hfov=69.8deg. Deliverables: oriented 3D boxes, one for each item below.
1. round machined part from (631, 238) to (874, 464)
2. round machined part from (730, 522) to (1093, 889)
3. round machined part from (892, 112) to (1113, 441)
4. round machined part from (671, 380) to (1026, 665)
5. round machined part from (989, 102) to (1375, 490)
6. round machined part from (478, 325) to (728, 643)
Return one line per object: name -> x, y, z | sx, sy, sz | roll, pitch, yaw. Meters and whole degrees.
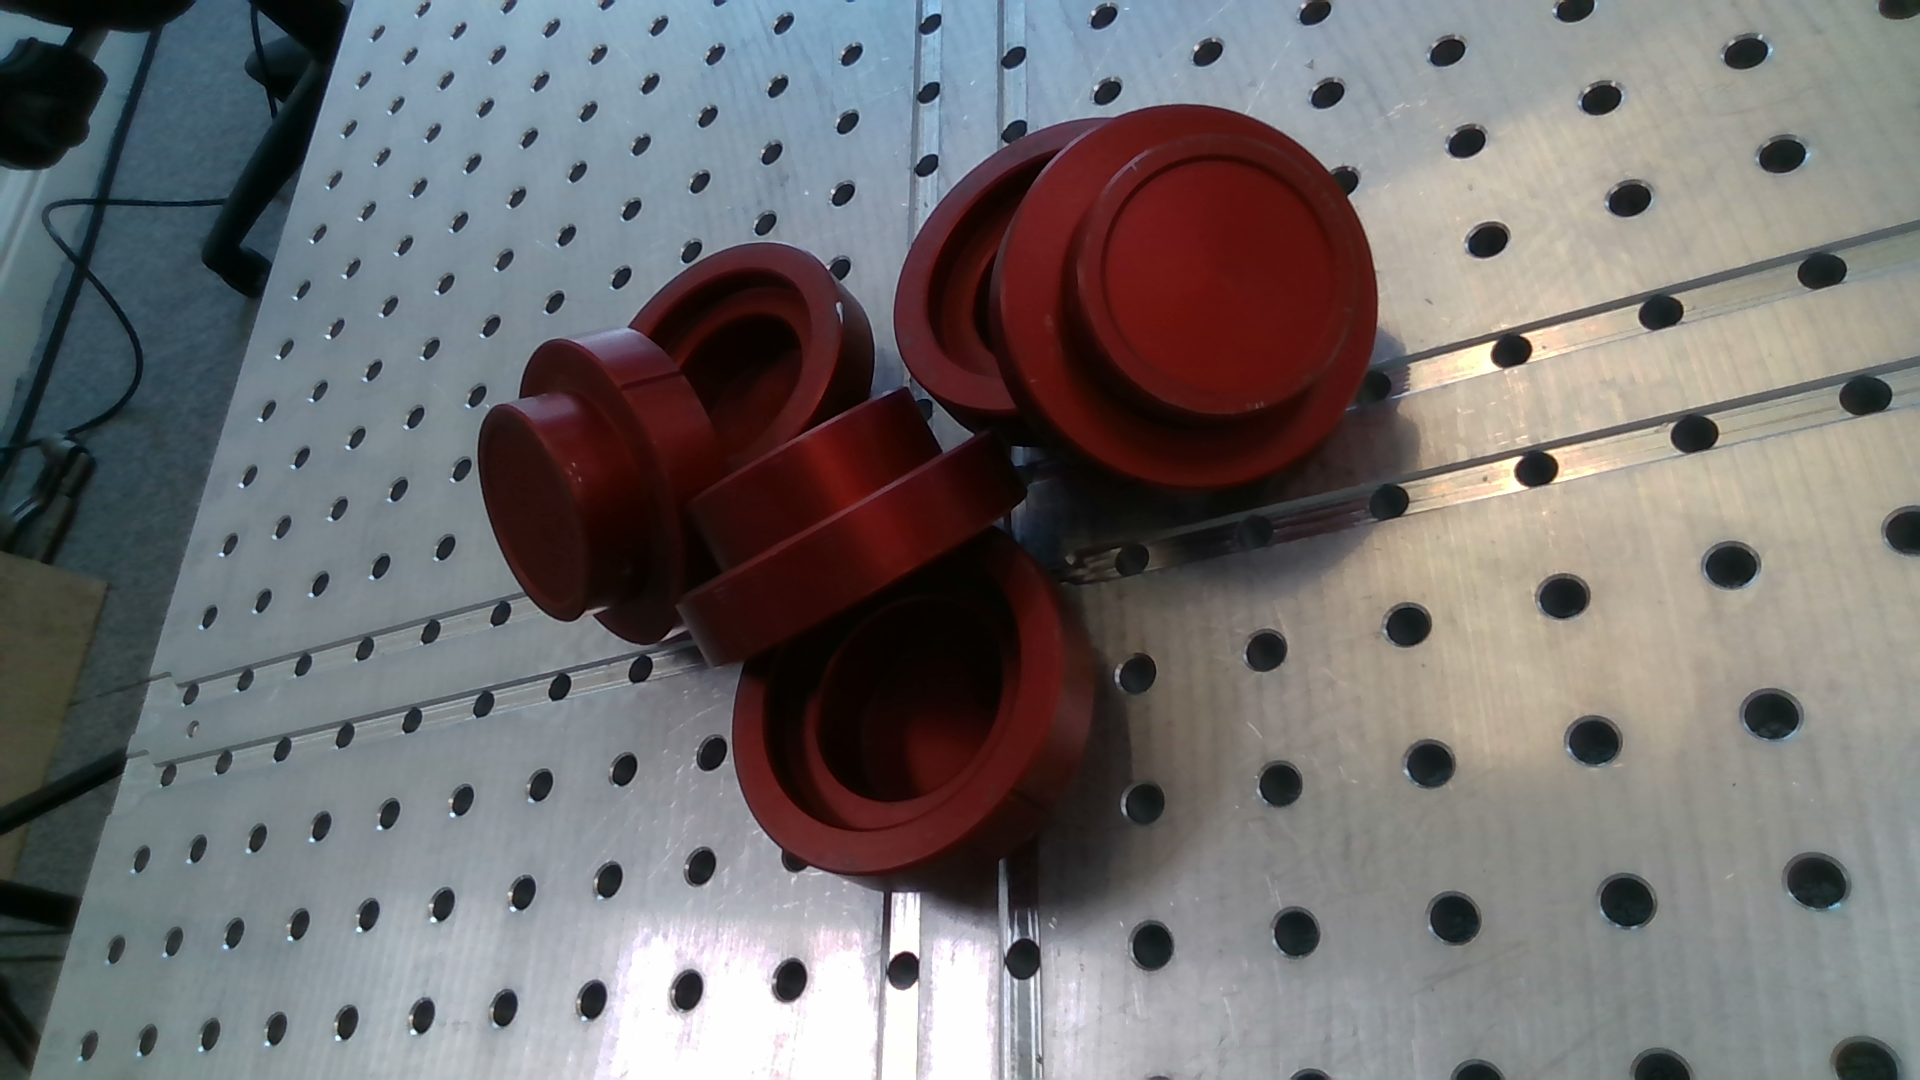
round machined part -> -0.069, -0.046, 0.451 | 0.098, 0.042, 0.098 | -14, 59, 25
round machined part -> -0.009, 0.044, 0.367 | 0.098, 0.042, 0.098 | -14, 59, 25
round machined part -> 0.032, -0.072, 0.402 | 0.098, 0.042, 0.098 | -14, 59, 25
round machined part -> -0.035, -0.009, 0.372 | 0.098, 0.098, 0.042 | -27, 96, 17
round machined part -> 0.059, -0.062, 0.346 | 0.098, 0.042, 0.098 | 0, 88, -8
round machined part -> -0.113, -0.014, 0.425 | 0.042, 0.098, 0.098 | -22, 34, -38
